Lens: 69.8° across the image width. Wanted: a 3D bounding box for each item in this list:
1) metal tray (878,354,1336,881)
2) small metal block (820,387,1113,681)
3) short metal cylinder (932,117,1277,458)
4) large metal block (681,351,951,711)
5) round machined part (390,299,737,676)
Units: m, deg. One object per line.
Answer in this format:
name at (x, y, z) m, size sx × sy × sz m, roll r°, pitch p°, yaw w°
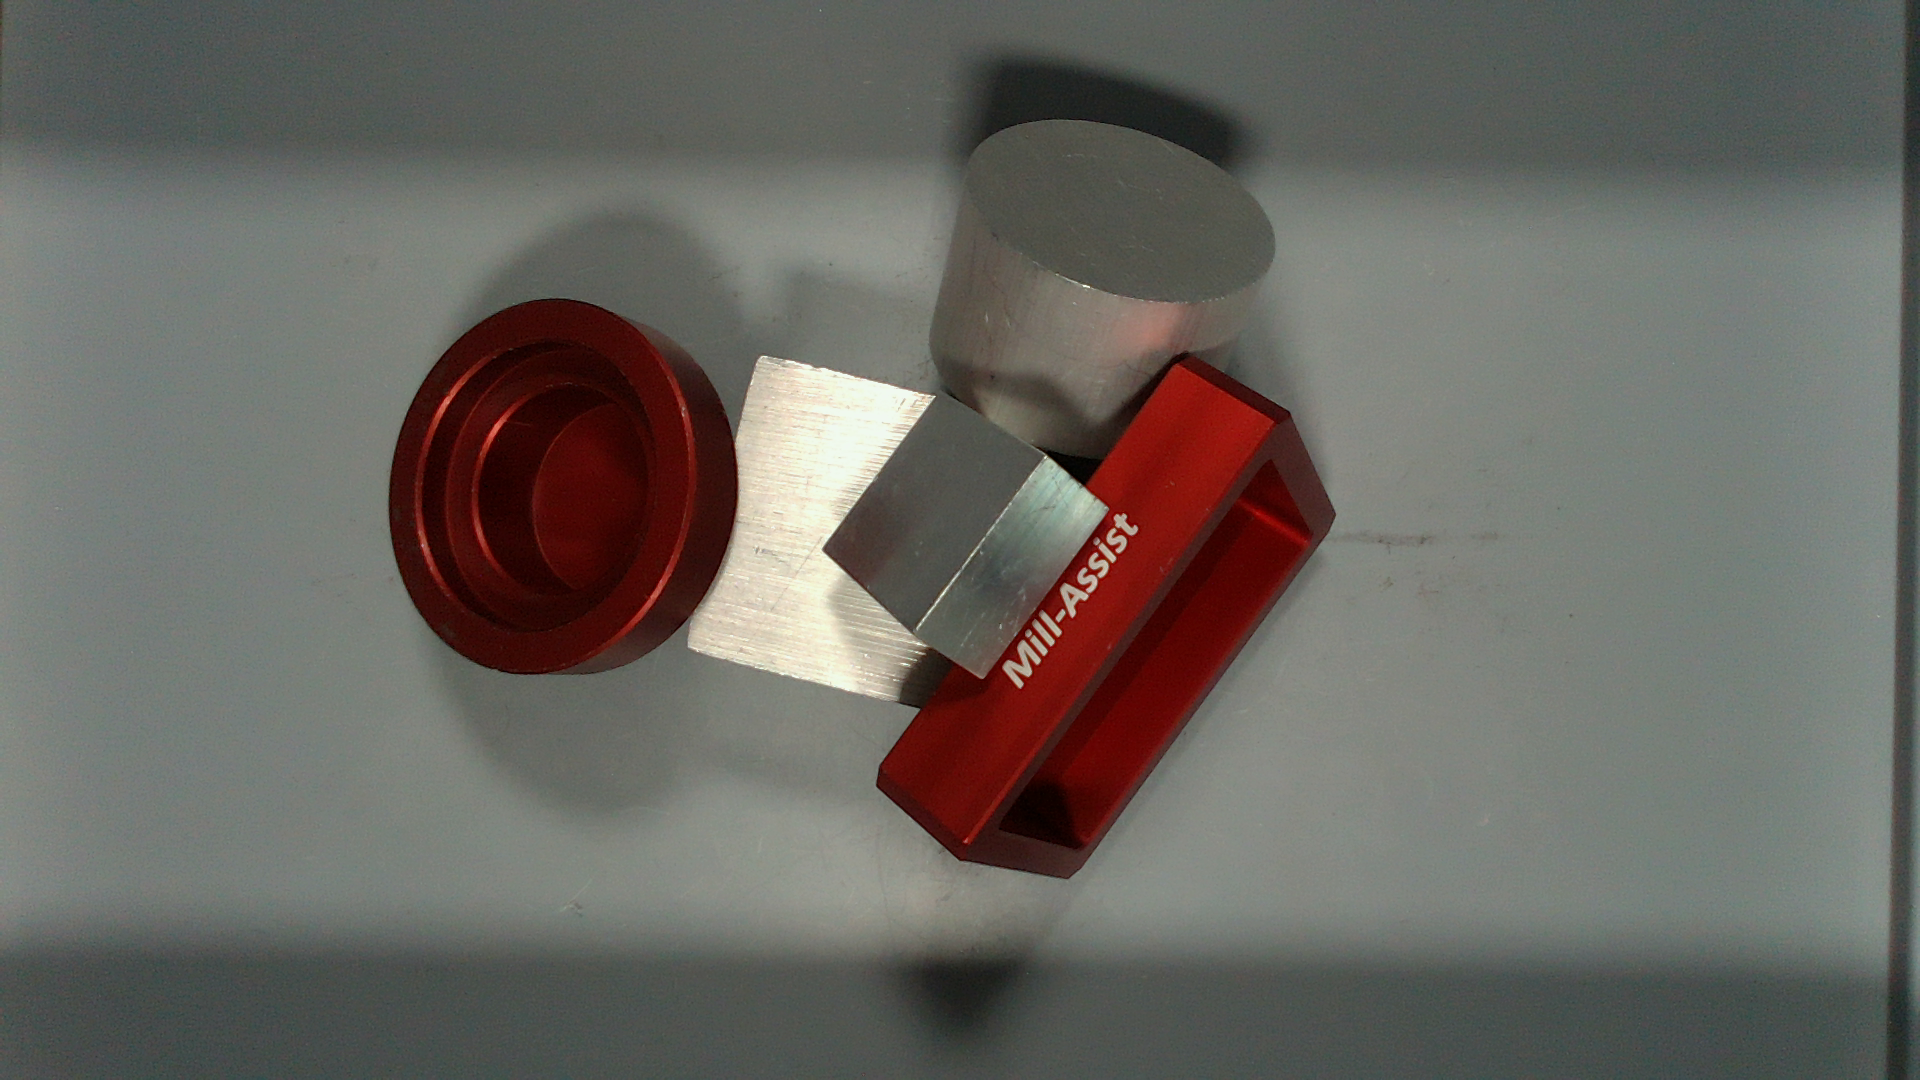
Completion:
metal tray at (0.043, 0.026, 0.361) m, size 0.030 × 0.090 × 0.130 m, roll 36°, pitch 90°, yaw 27°
small metal block at (0.000, -0.003, 0.330) m, size 0.025 × 0.050 × 0.050 m, roll 37°, pitch 91°, yaw -38°
short metal cylinder at (0.036, -0.067, 0.360) m, size 0.080 × 0.080 × 0.050 m, roll 16°, pitch 134°, yaw 0°
large metal block at (-0.024, 0.000, 0.382) m, size 0.080 × 0.050 × 0.080 m, roll 15°, pitch 90°, yaw 0°
round machined part at (-0.102, -0.012, 0.374) m, size 0.098 × 0.042 × 0.098 m, roll -2°, pitch 84°, yaw 23°
